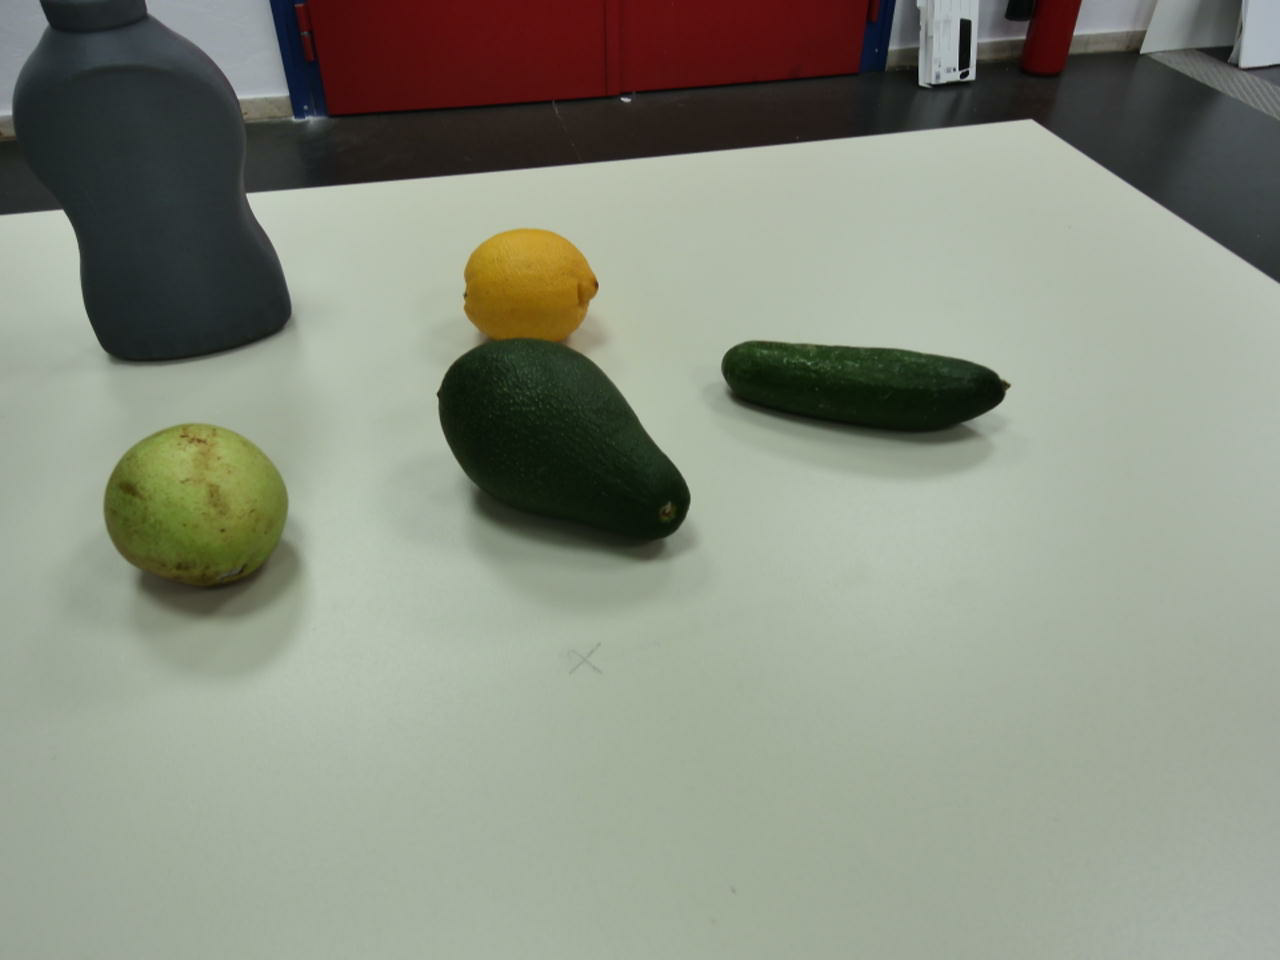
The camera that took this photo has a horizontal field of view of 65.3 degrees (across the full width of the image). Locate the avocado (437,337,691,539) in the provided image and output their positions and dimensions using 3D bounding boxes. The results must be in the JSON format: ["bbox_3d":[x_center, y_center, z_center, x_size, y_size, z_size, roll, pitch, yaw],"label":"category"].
[{"bbox_3d":[-0.035,-0.017,0.415,0.072,0.071,0.109,-24,44,-28],"label":"avocado"}]
